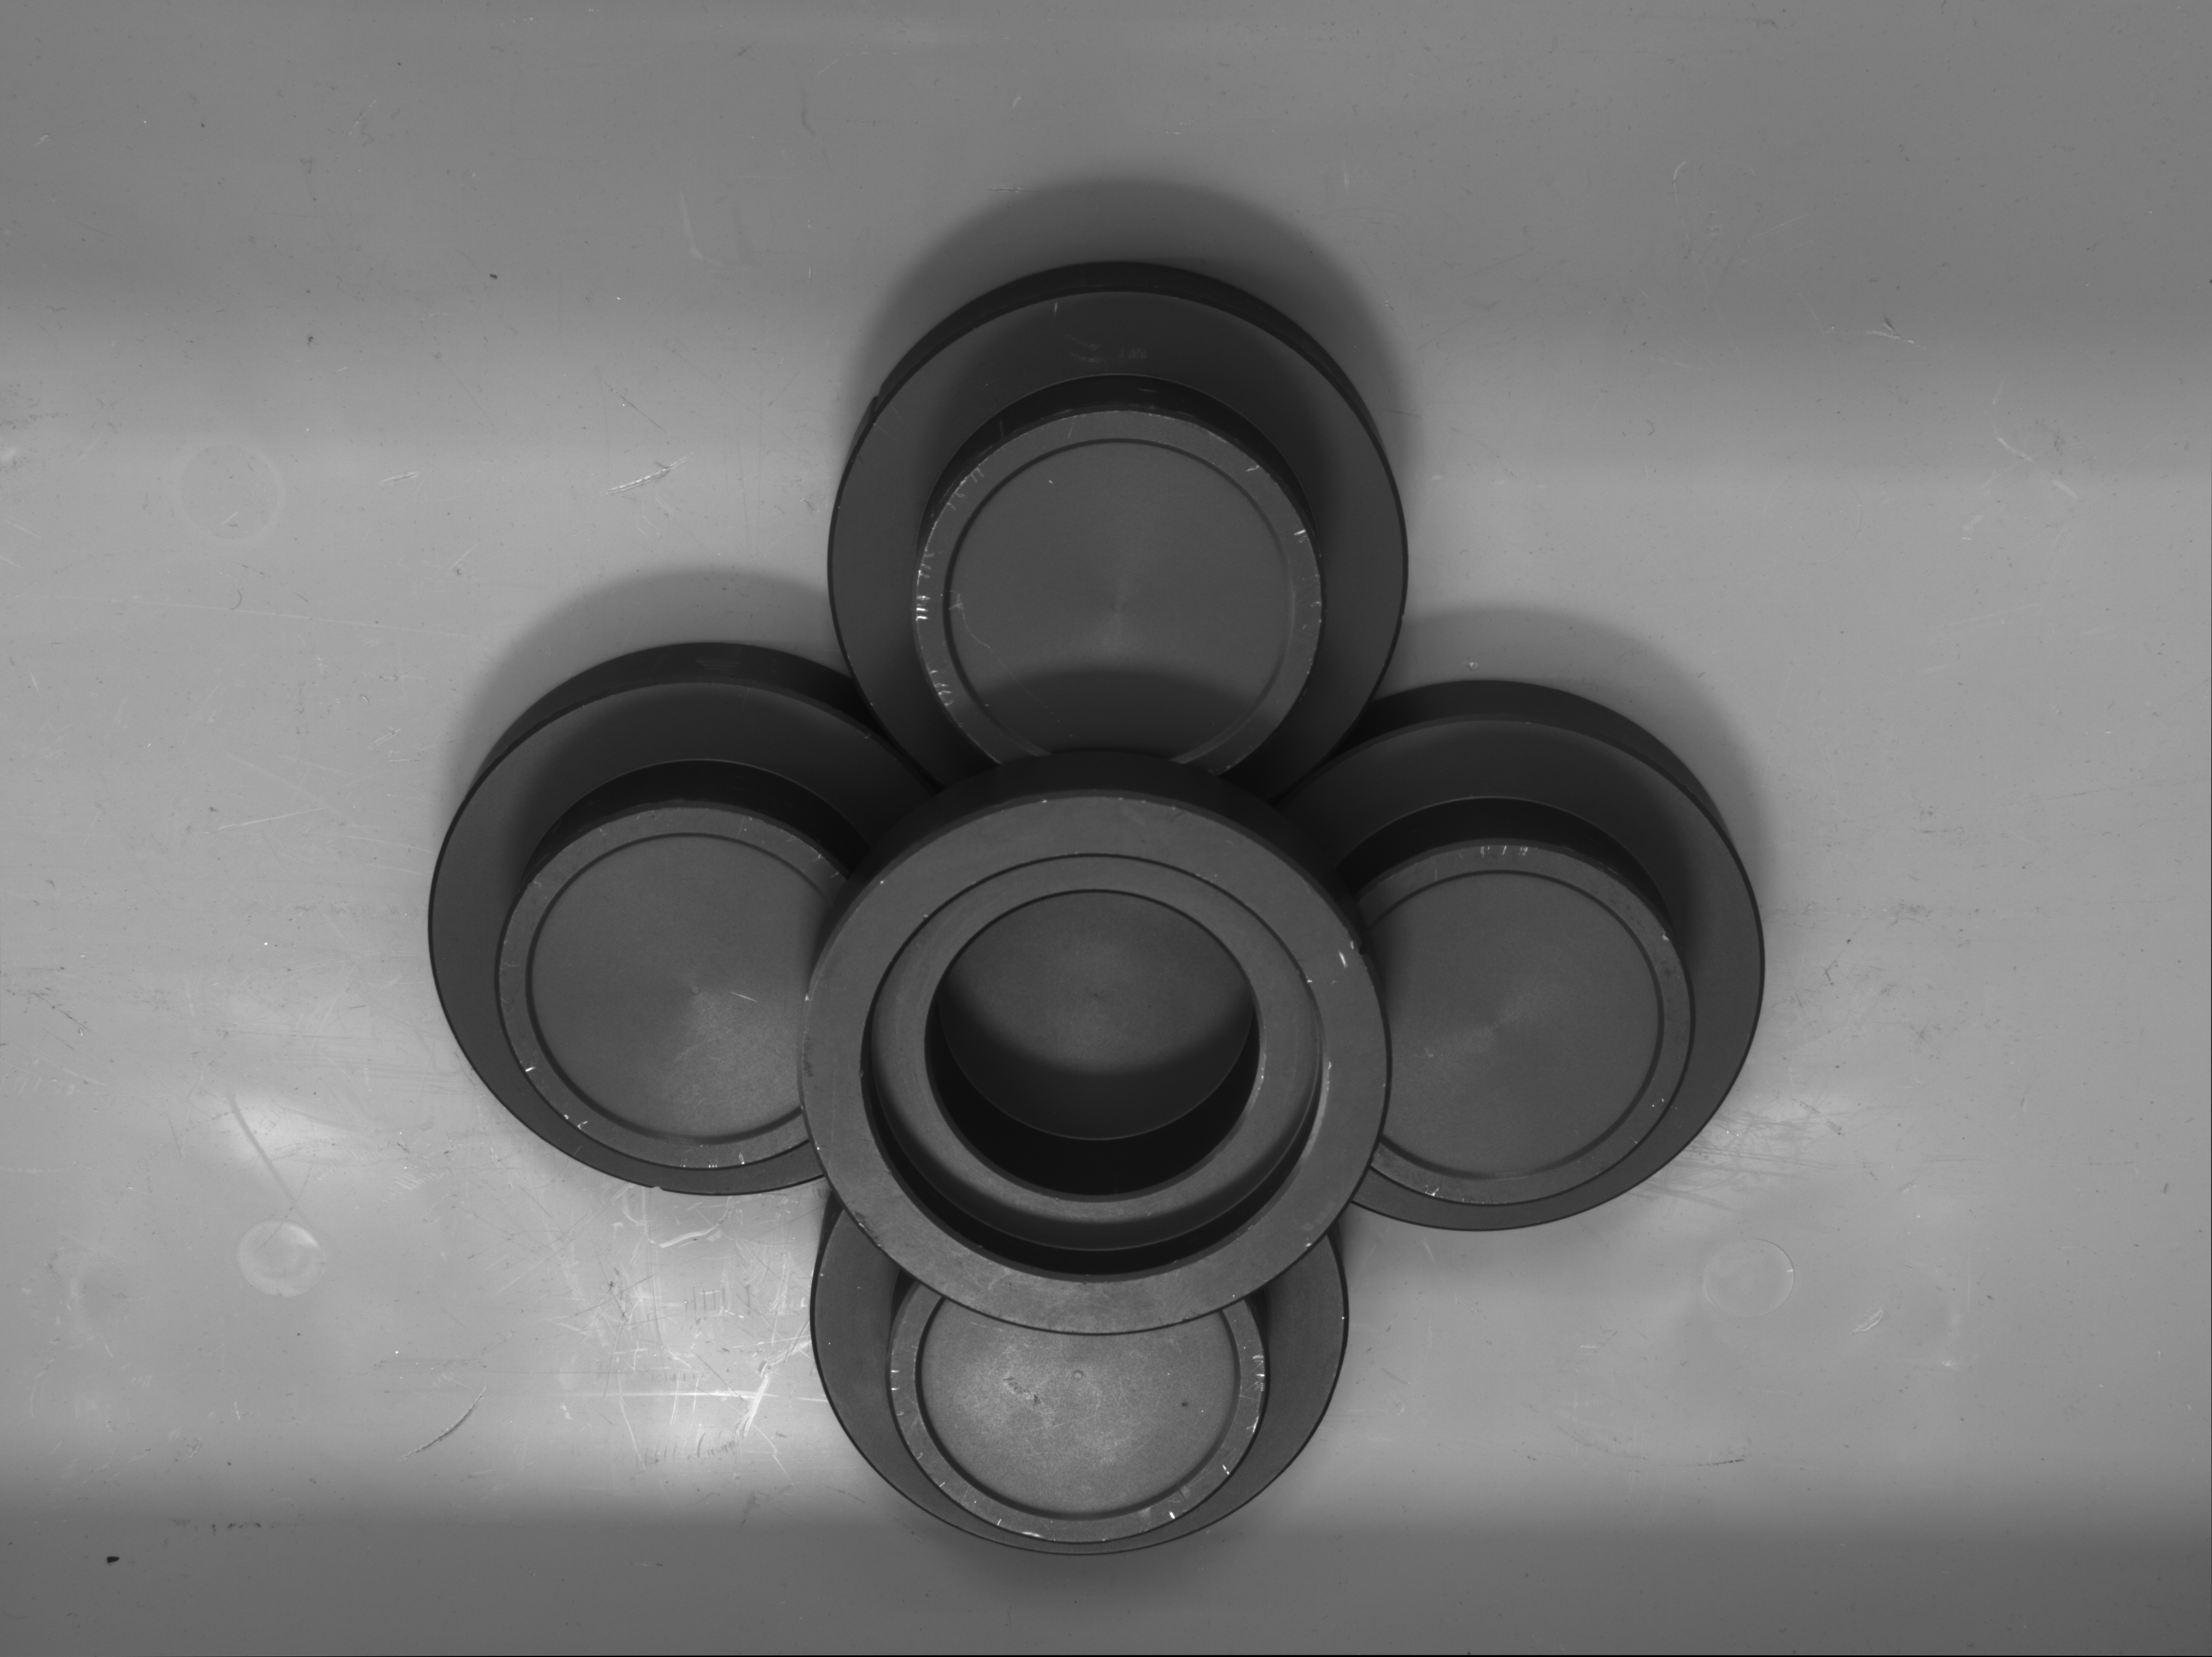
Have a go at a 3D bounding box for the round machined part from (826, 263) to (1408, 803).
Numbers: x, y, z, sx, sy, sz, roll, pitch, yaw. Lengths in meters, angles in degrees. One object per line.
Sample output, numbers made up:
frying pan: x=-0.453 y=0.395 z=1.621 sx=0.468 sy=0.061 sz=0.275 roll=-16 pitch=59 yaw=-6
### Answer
round machined part: x=0.002 y=-0.042 z=0.616 sx=0.098 sy=0.042 sz=0.098 roll=0 pitch=110 yaw=0

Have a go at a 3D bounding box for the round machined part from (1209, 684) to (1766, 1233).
round machined part: x=0.067 y=0.027 z=0.643 sx=0.098 sy=0.042 sz=0.098 roll=0 pitch=110 yaw=0

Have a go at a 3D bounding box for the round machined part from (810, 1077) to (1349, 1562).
round machined part: x=-0.005 y=0.090 z=0.665 sx=0.098 sy=0.042 sz=0.098 roll=0 pitch=108 yaw=-1

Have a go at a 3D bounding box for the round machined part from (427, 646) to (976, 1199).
round machined part: x=-0.070 y=0.021 z=0.640 sx=0.098 sy=0.042 sz=0.098 roll=0 pitch=110 yaw=0

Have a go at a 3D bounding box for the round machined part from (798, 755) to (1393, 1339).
round machined part: x=-0.002 y=0.034 z=0.623 sx=0.098 sy=0.042 sz=0.098 roll=0 pitch=110 yaw=0
